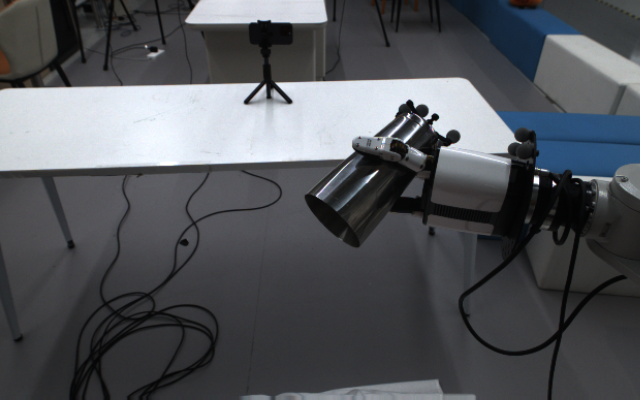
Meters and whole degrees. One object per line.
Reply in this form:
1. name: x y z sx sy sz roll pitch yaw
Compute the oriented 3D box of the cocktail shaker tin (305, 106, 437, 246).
1. cocktail shaker tin: 0.072 -0.036 0.613 0.170 0.093 0.093 -43 50 -14
